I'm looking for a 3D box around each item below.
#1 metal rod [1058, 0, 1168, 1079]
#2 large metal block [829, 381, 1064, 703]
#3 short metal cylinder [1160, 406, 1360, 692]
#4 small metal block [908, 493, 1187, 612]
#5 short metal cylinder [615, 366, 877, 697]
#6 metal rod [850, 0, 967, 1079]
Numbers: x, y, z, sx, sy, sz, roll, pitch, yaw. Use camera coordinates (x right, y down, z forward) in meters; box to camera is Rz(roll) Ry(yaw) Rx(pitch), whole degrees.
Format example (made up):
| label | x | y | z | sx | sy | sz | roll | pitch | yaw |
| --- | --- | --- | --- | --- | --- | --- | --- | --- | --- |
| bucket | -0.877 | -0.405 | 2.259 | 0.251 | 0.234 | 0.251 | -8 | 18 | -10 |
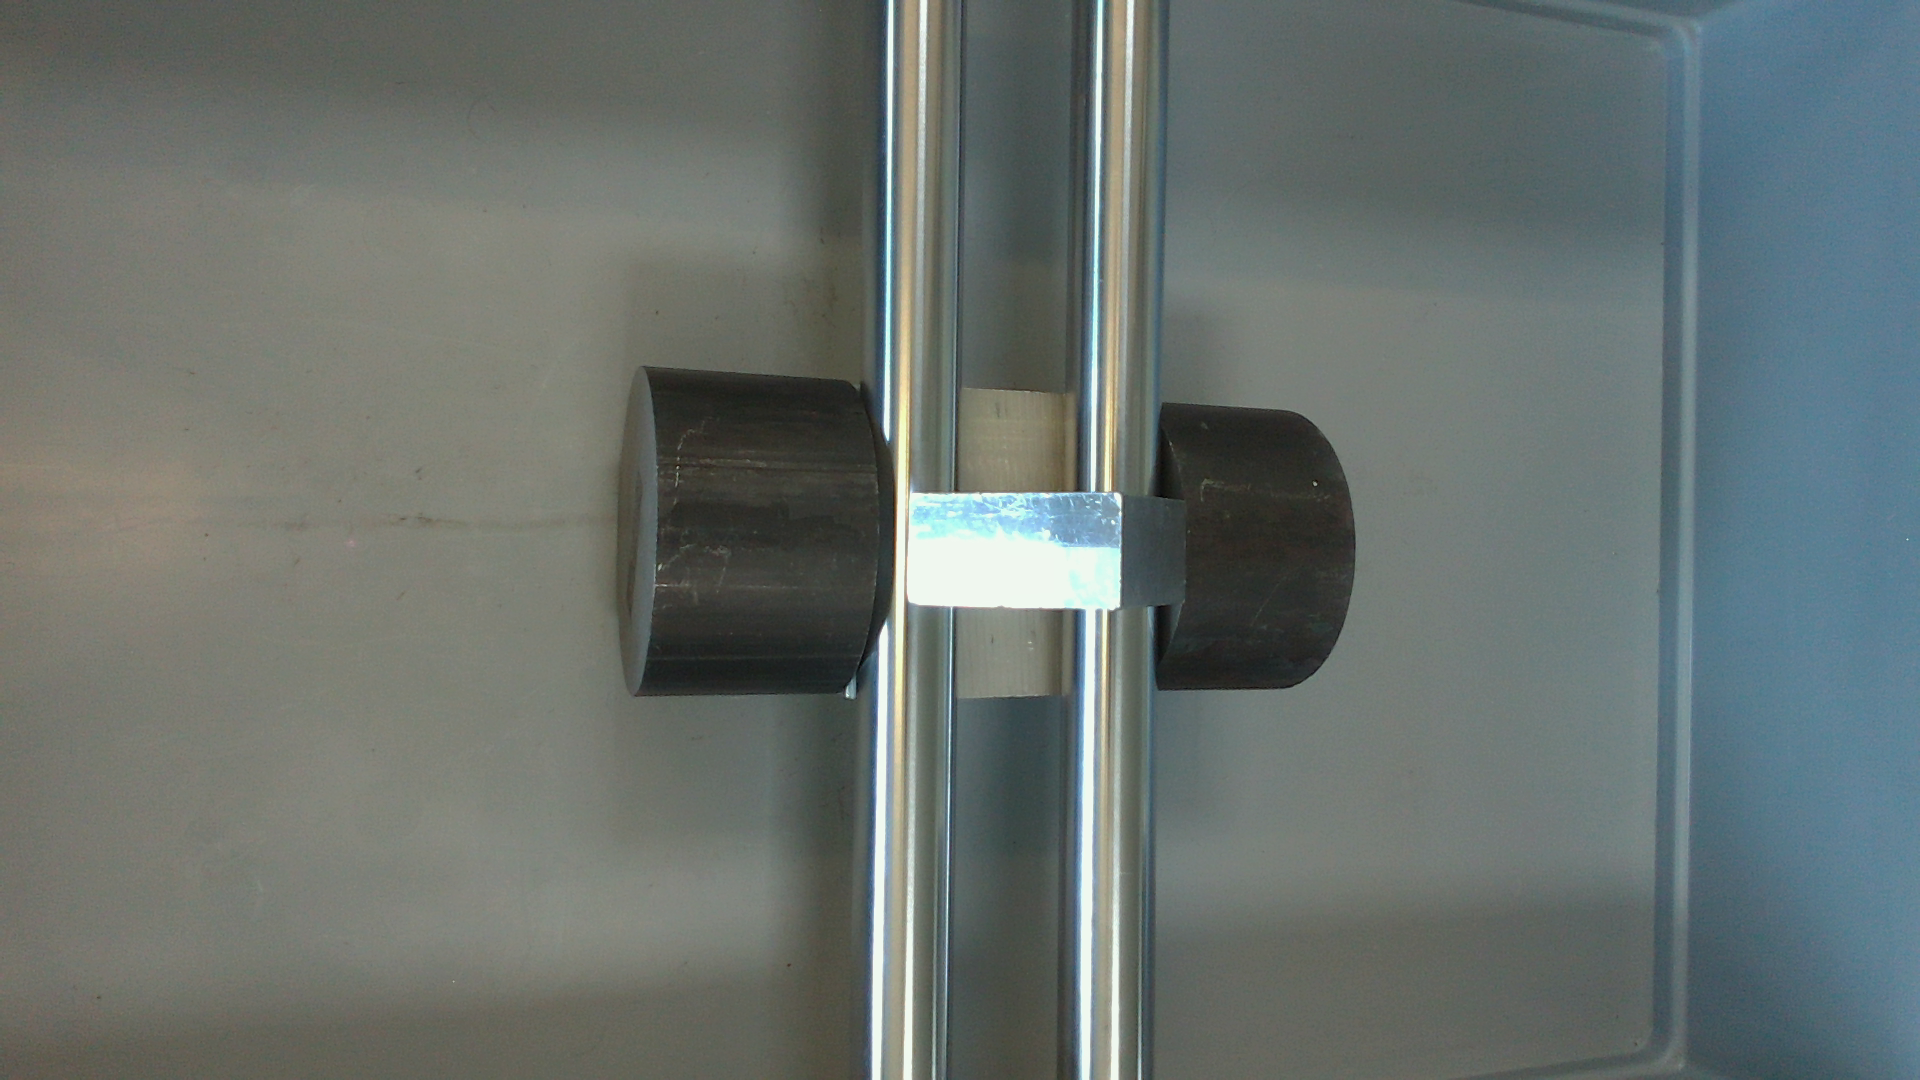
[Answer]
| label | x | y | z | sx | sy | sz | roll | pitch | yaw |
| --- | --- | --- | --- | --- | --- | --- | --- | --- | --- |
| metal rod | 0.039 | 0.003 | 0.354 | 0.025 | 0.025 | 0.300 | 1 | 90 | -20 |
| large metal block | 0.000 | 0.001 | 0.379 | 0.080 | 0.050 | 0.080 | 1 | 90 | -20 |
| short metal cylinder | 0.068 | 0.003 | 0.387 | 0.050 | 0.080 | 0.080 | 1 | 90 | -19 |
| small metal block | 0.022 | 0.002 | 0.320 | 0.050 | 0.050 | 0.025 | 1 | 90 | 25 |
| short metal cylinder | -0.056 | -0.001 | 0.343 | 0.050 | 0.080 | 0.080 | 1 | 90 | -20 |
| metal rod | -0.013 | 0.005 | 0.335 | 0.025 | 0.025 | 0.300 | 1 | 90 | -20 |
